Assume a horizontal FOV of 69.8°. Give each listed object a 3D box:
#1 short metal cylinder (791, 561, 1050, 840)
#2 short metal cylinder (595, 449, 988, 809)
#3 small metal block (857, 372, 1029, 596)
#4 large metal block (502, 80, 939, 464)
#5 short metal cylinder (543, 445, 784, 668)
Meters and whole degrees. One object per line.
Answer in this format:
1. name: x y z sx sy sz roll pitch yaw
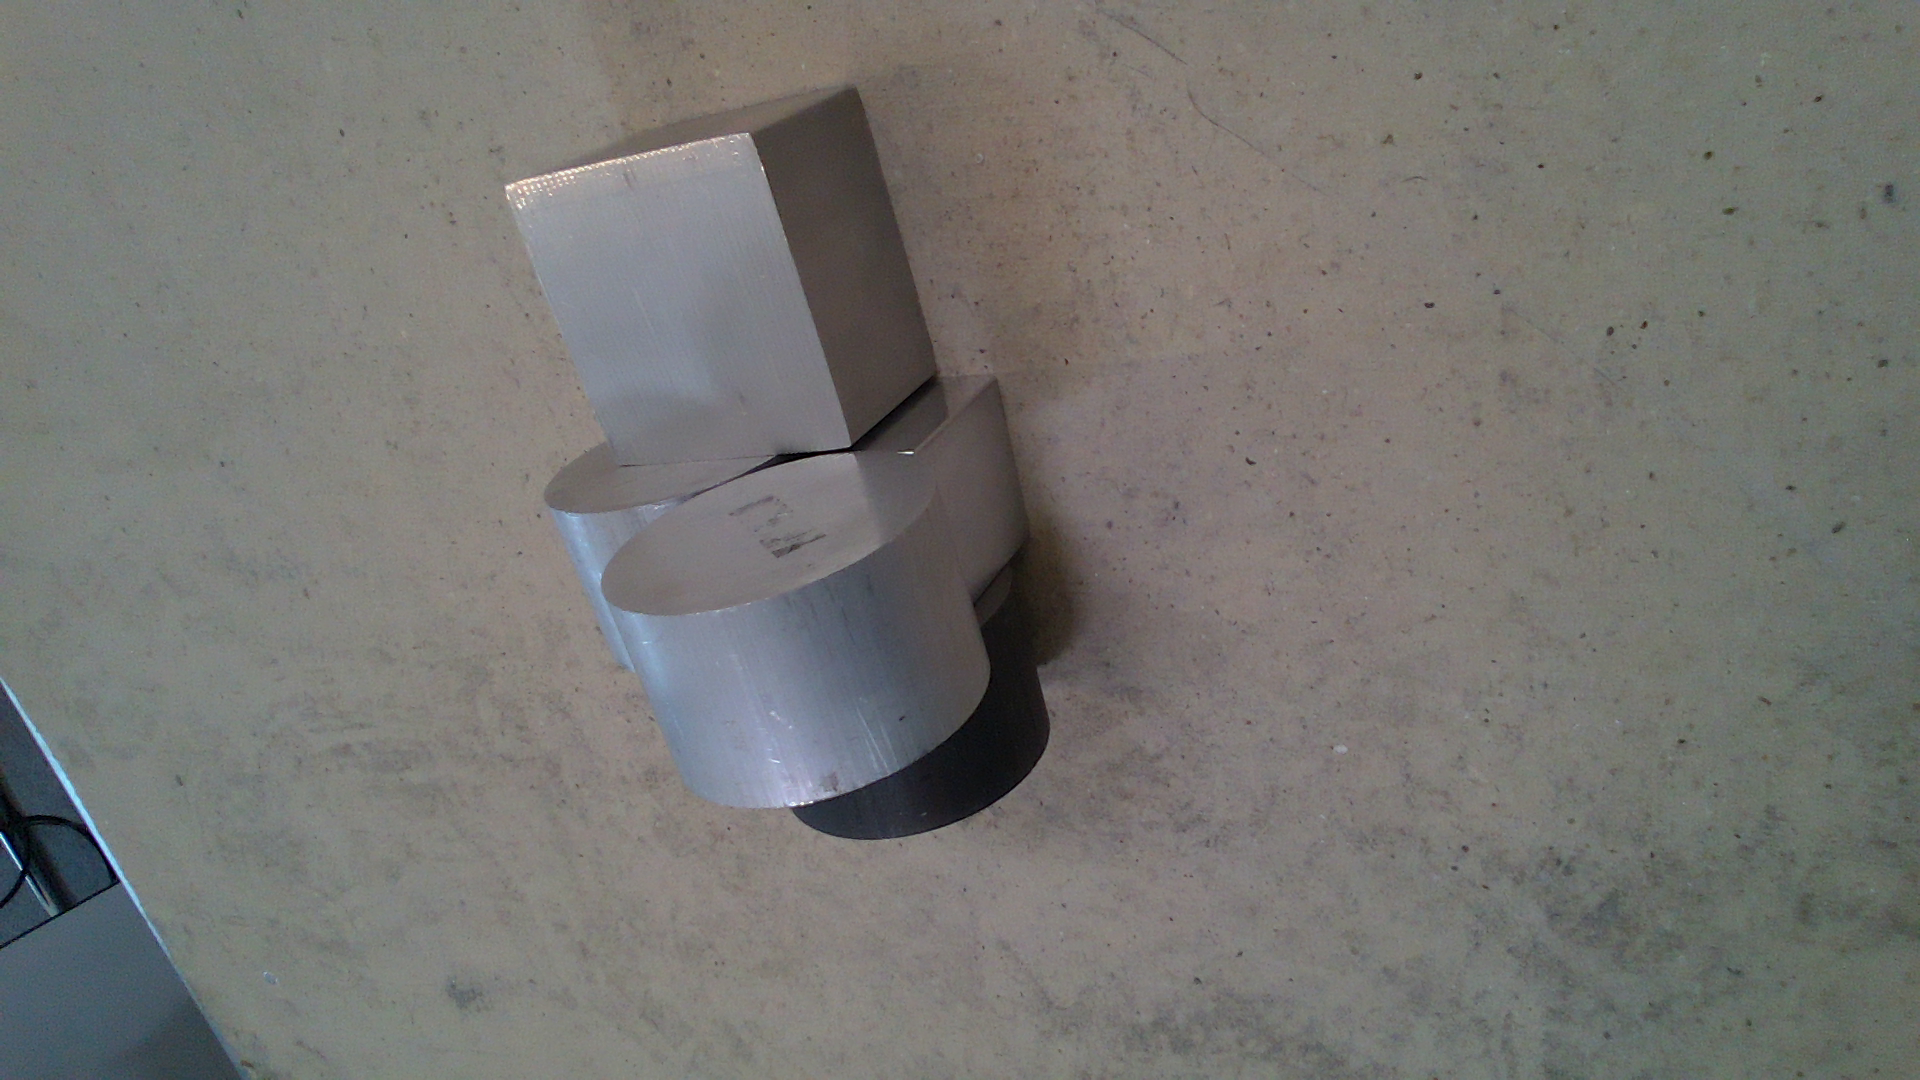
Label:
1. short metal cylinder: -0.019 0.040 0.393 0.080 0.080 0.050 0 118 29
2. short metal cylinder: -0.038 0.018 0.325 0.080 0.080 0.050 -2 117 29
3. small metal block: -0.007 -0.012 0.376 0.025 0.050 0.050 1 119 28
4. large metal block: -0.062 -0.069 0.368 0.080 0.050 0.080 -2 118 29
5. short metal cylinder: -0.071 -0.004 0.394 0.080 0.080 0.050 -2 117 29
